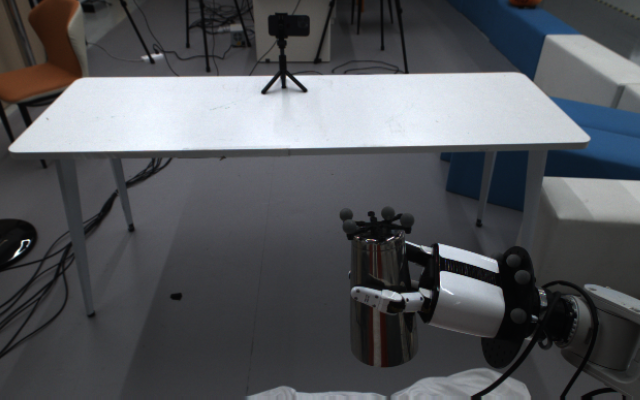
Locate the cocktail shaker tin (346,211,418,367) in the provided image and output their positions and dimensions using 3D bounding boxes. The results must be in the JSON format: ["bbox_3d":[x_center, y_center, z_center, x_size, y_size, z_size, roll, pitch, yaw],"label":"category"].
[{"bbox_3d":[0.080,0.119,0.630,0.093,0.170,0.093,-6,19,2],"label":"cocktail shaker tin"}]
